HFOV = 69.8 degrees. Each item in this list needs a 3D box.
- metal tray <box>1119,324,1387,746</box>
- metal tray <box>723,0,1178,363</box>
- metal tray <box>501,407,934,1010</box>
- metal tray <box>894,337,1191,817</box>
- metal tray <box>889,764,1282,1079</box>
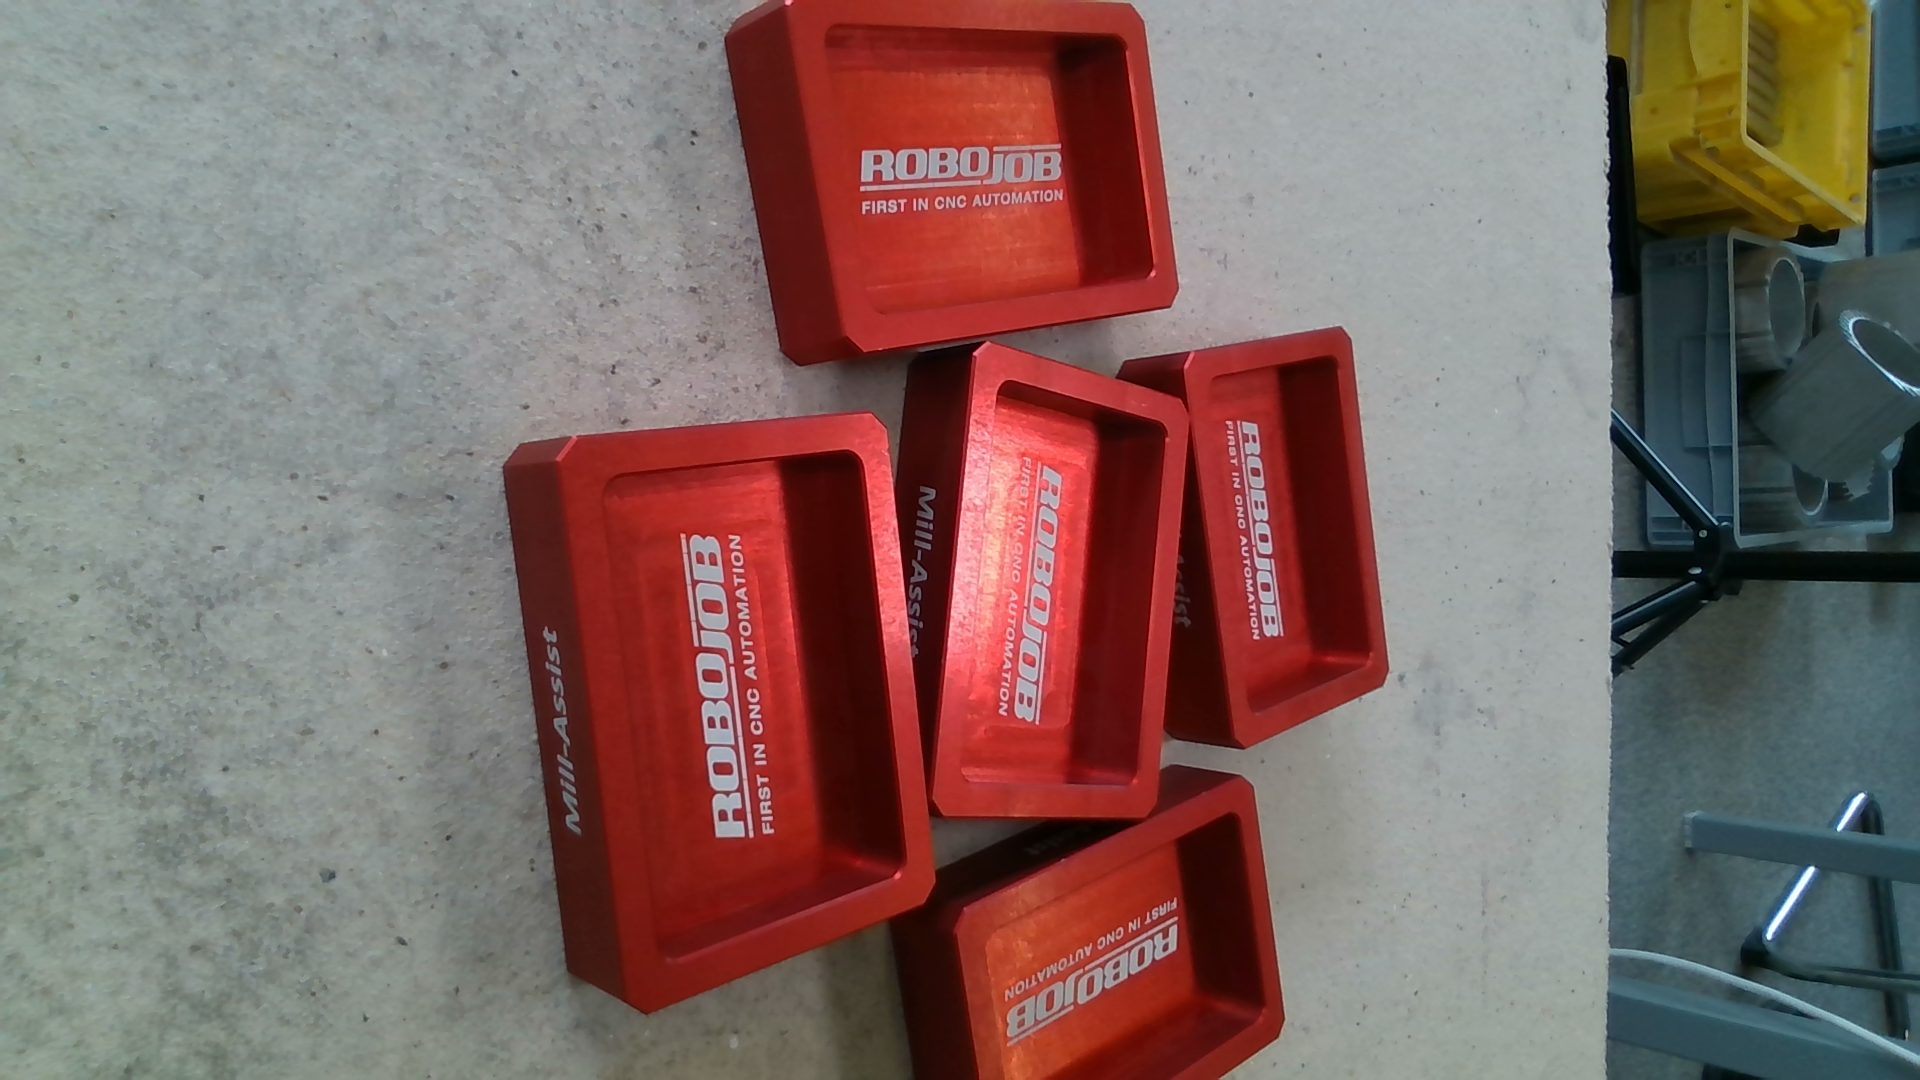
[{"bbox_3d":[0.102,-0.004,0.475,0.090,0.030,0.130,-14,99,-39],"label":"metal tray"},{"bbox_3d":[0.003,-0.104,0.390,0.130,0.030,0.090,-15,100,-39],"label":"metal tray"},{"bbox_3d":[-0.056,0.036,0.340,0.090,0.030,0.130,-10,96,-40],"label":"metal tray"},{"bbox_3d":[0.022,0.014,0.407,0.090,0.030,0.130,10,83,-38],"label":"metal tray"},{"bbox_3d":[0.043,0.131,0.425,0.130,0.030,0.090,-14,98,-39],"label":"metal tray"}]
